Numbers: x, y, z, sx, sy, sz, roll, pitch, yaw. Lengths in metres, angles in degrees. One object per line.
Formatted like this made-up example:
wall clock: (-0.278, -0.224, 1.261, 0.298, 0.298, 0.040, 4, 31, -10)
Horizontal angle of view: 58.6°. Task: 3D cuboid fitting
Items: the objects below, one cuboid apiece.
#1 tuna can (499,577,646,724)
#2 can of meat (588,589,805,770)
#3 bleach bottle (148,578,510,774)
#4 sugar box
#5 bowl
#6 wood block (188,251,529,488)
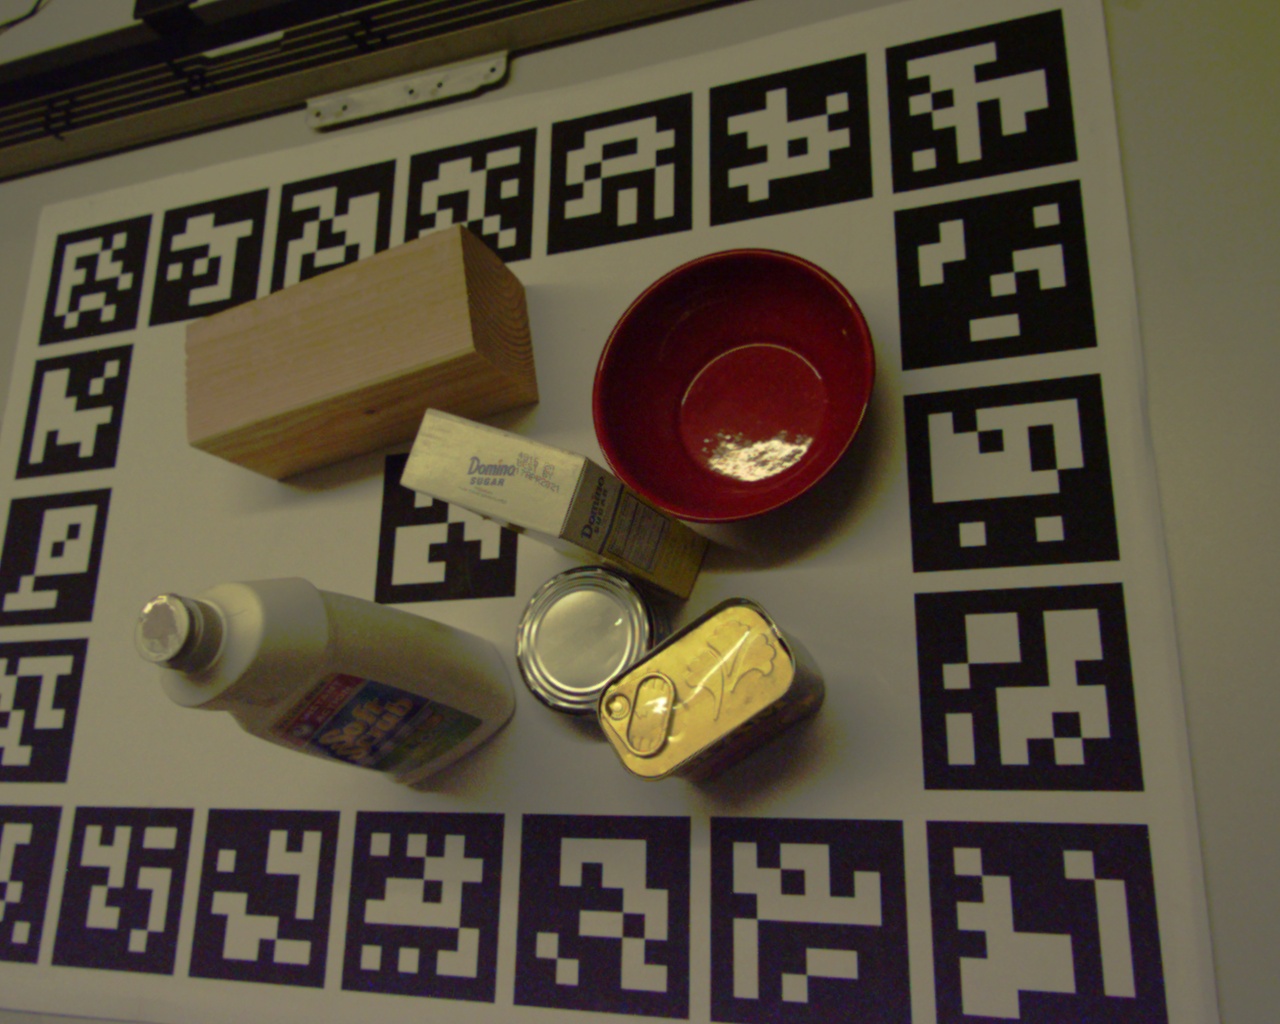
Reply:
tuna can: (-0.039, 0.083, 0.680, 0.086, 0.033, 0.086, -6, 76, 21)
can of meat: (0.035, 0.096, 0.626, 0.102, 0.083, 0.058, -34, 62, 8)
bleach bottle: (-0.169, 0.088, 0.616, 0.103, 0.248, 0.068, -30, 65, 11)
sugar box: (-0.041, 0.004, 0.626, 0.094, 0.174, 0.045, 17, 83, 29)
bowl: (0.056, -0.066, 0.677, 0.163, 0.054, 0.162, -8, 71, 24)
wood block: (-0.191, -0.091, 0.770, 0.208, 0.089, 0.091, -14, 74, 17)
